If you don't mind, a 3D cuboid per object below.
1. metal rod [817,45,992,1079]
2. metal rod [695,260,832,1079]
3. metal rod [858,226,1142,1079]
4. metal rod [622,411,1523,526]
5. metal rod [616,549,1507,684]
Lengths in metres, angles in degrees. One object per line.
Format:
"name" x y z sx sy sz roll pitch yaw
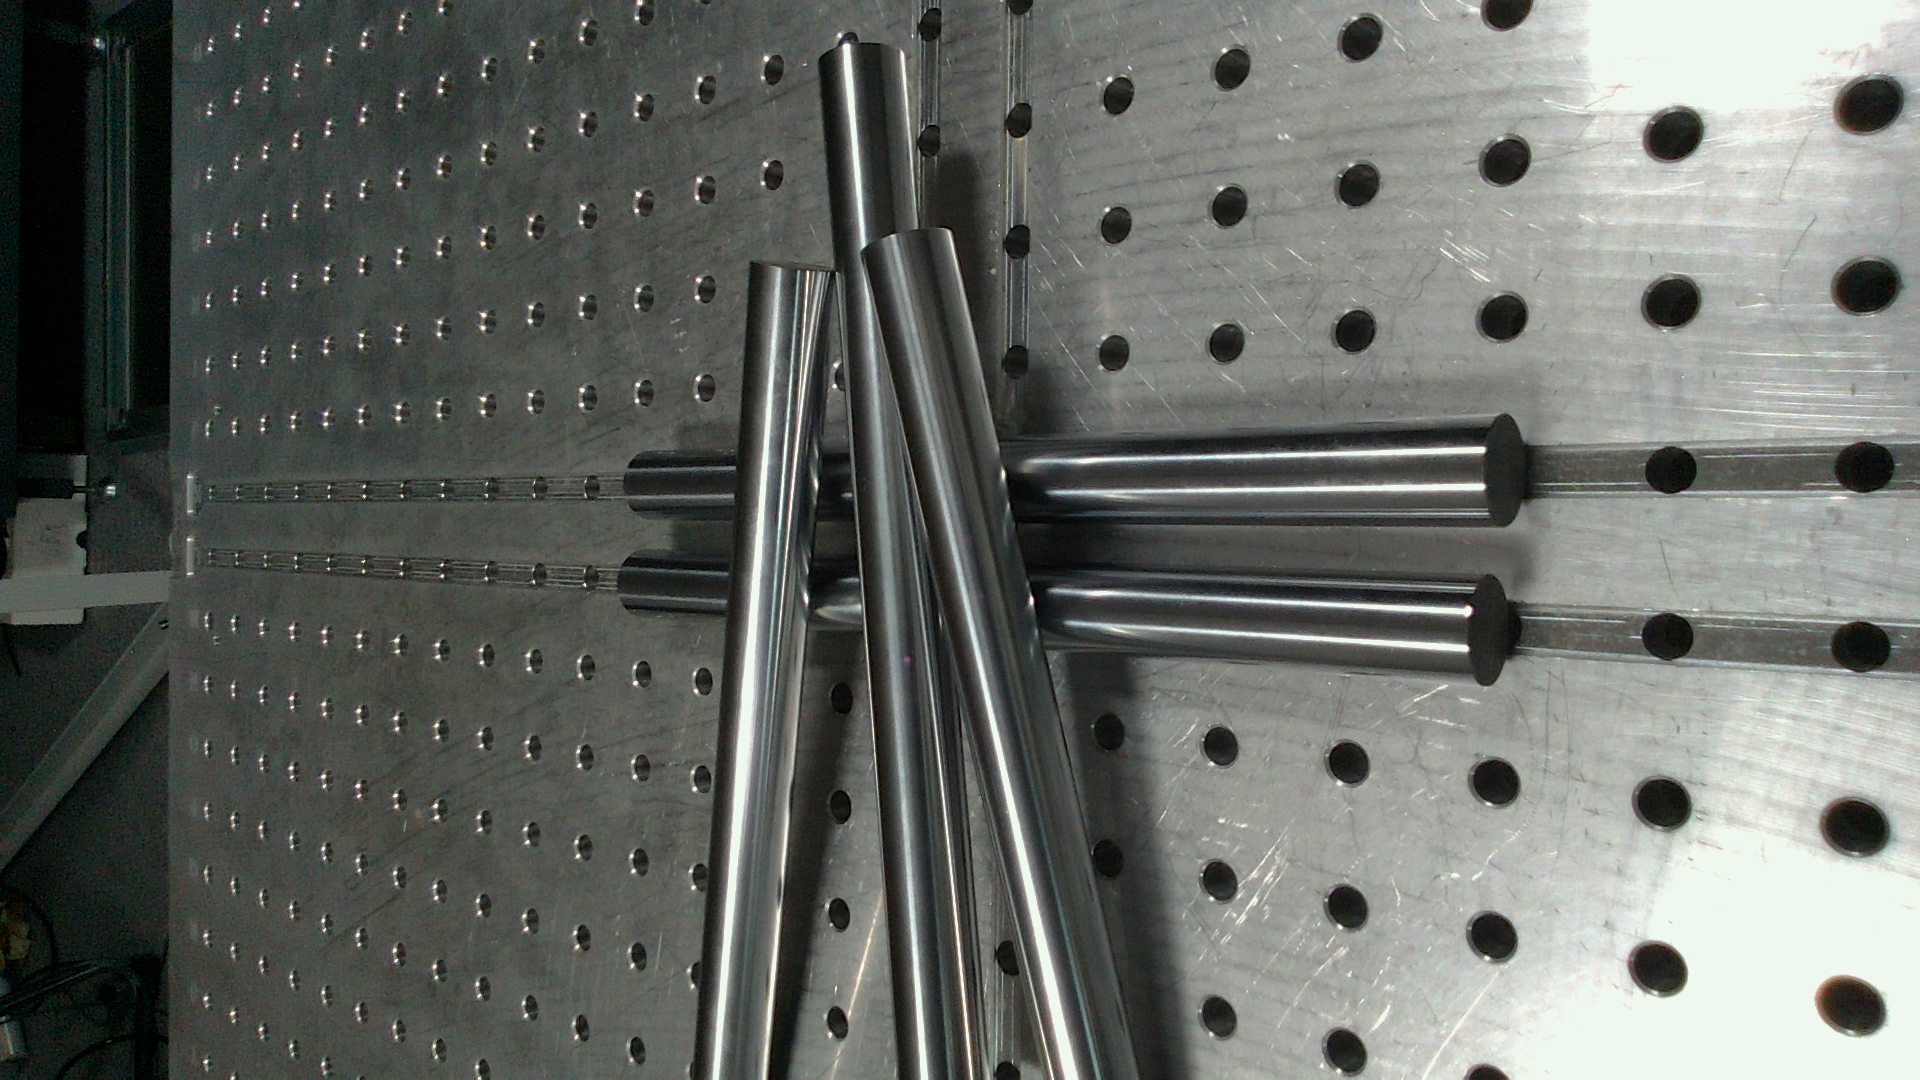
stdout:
"metal rod" -0.015 0.015 0.378 0.025 0.025 0.300 -8 85 40
"metal rod" -0.063 0.066 0.427 0.025 0.025 0.300 18 109 39
"metal rod" 0.018 0.068 0.358 0.025 0.025 0.300 -14 88 39
"metal rod" 0.004 -0.017 0.395 0.299 0.025 0.025 1 91 40
"metal rod" 0.001 0.017 0.397 0.299 0.025 0.025 1 91 40
